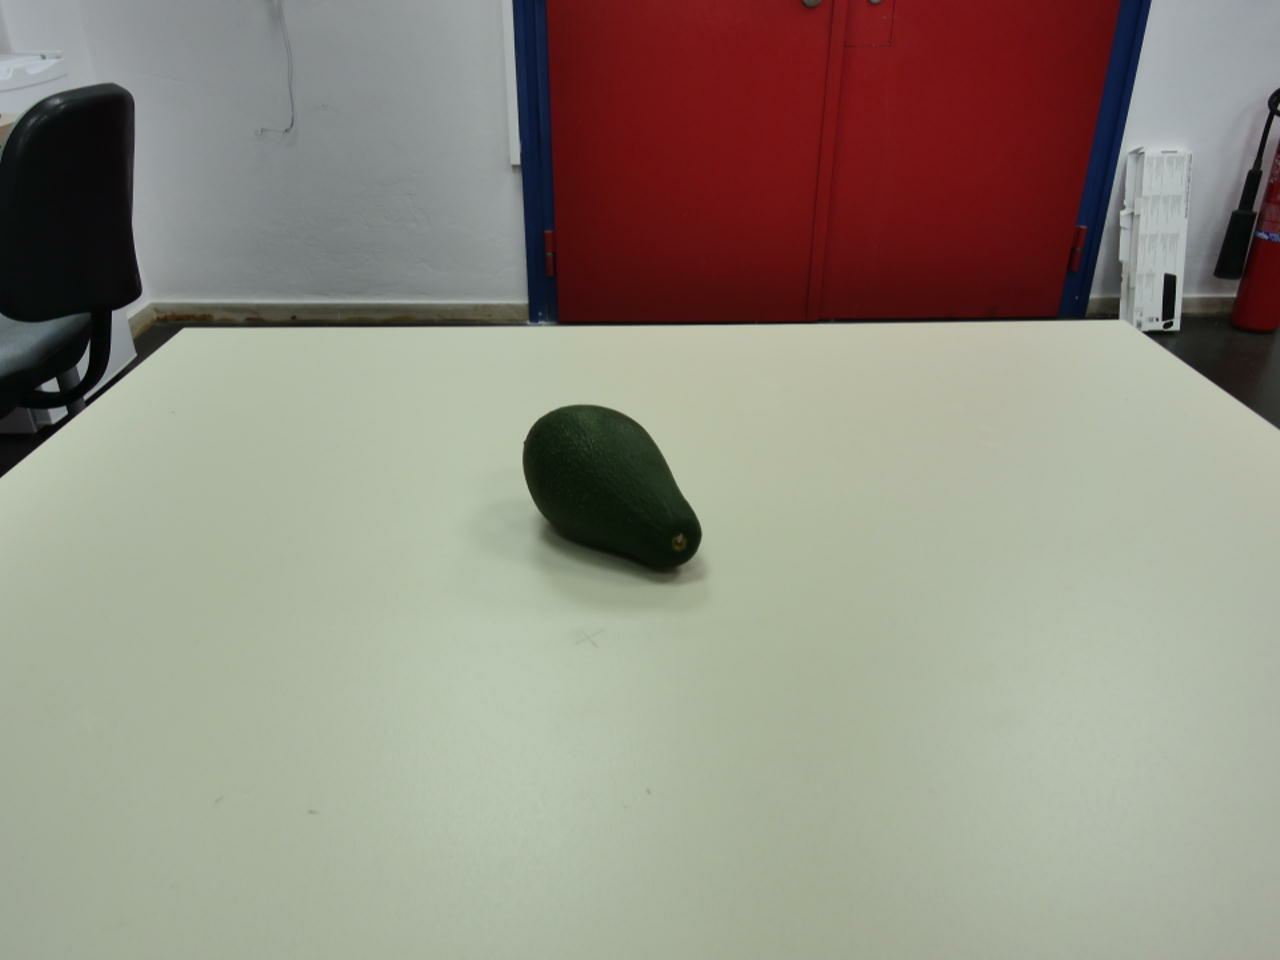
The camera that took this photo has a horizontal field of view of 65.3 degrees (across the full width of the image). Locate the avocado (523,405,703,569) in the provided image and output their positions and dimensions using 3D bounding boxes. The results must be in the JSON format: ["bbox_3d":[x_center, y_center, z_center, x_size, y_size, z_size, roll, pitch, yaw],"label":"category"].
[{"bbox_3d":[-0.018,0.002,0.519,0.072,0.071,0.109,-12,28,-21],"label":"avocado"}]
